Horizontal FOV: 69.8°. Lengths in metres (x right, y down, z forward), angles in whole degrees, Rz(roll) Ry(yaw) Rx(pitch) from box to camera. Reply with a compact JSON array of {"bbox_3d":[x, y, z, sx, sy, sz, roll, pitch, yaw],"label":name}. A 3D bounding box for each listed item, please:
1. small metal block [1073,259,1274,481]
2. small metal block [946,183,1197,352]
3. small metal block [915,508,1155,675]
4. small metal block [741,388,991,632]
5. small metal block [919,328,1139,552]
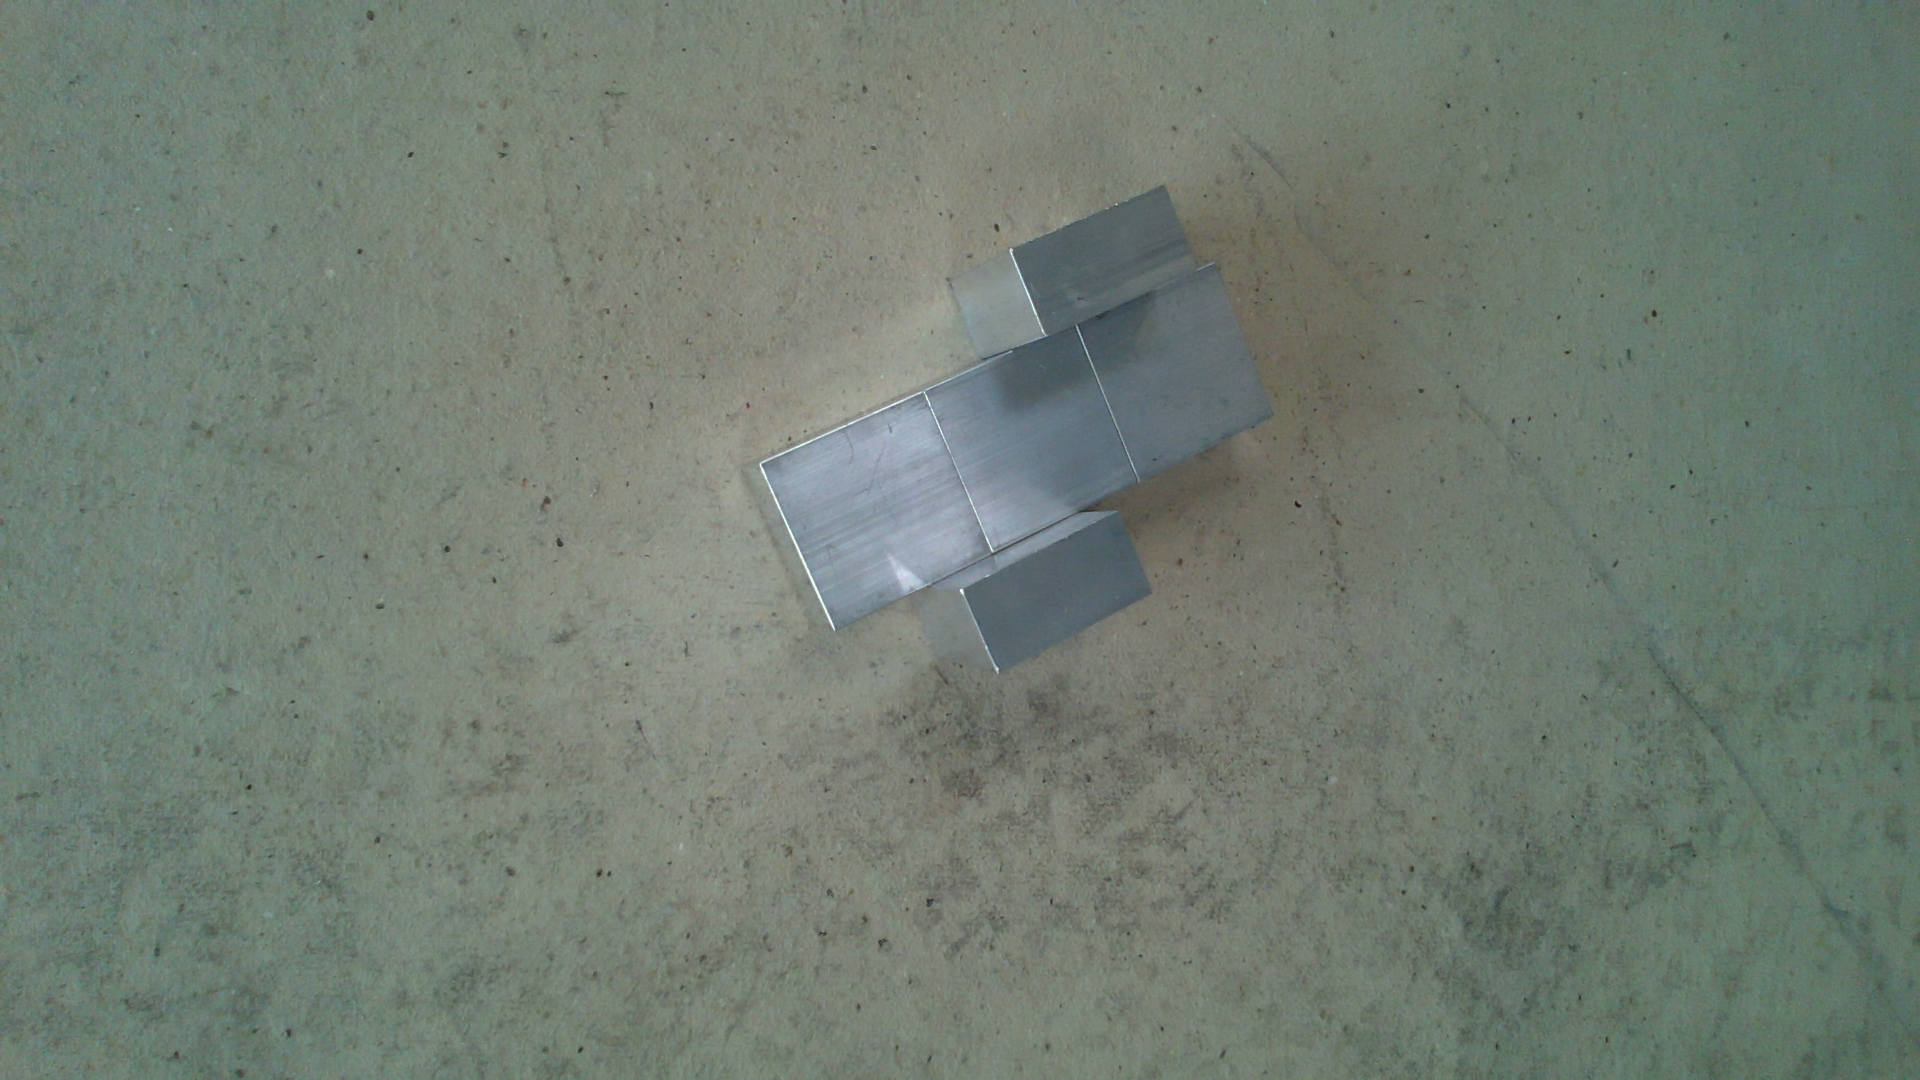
[{"bbox_3d":[0.059,-0.050,0.415,0.050,0.025,0.050,-26,99,-18],"label":"small metal block"},{"bbox_3d":[0.031,-0.076,0.392,0.050,0.050,0.025,-26,99,-17],"label":"small metal block"},{"bbox_3d":[0.018,0.013,0.388,0.050,0.050,0.025,-26,98,-18],"label":"small metal block"},{"bbox_3d":[-0.026,-0.009,0.384,0.050,0.025,0.050,-26,99,-18],"label":"small metal block"},{"bbox_3d":[0.017,-0.029,0.400,0.050,0.025,0.050,-26,99,-18],"label":"small metal block"}]
